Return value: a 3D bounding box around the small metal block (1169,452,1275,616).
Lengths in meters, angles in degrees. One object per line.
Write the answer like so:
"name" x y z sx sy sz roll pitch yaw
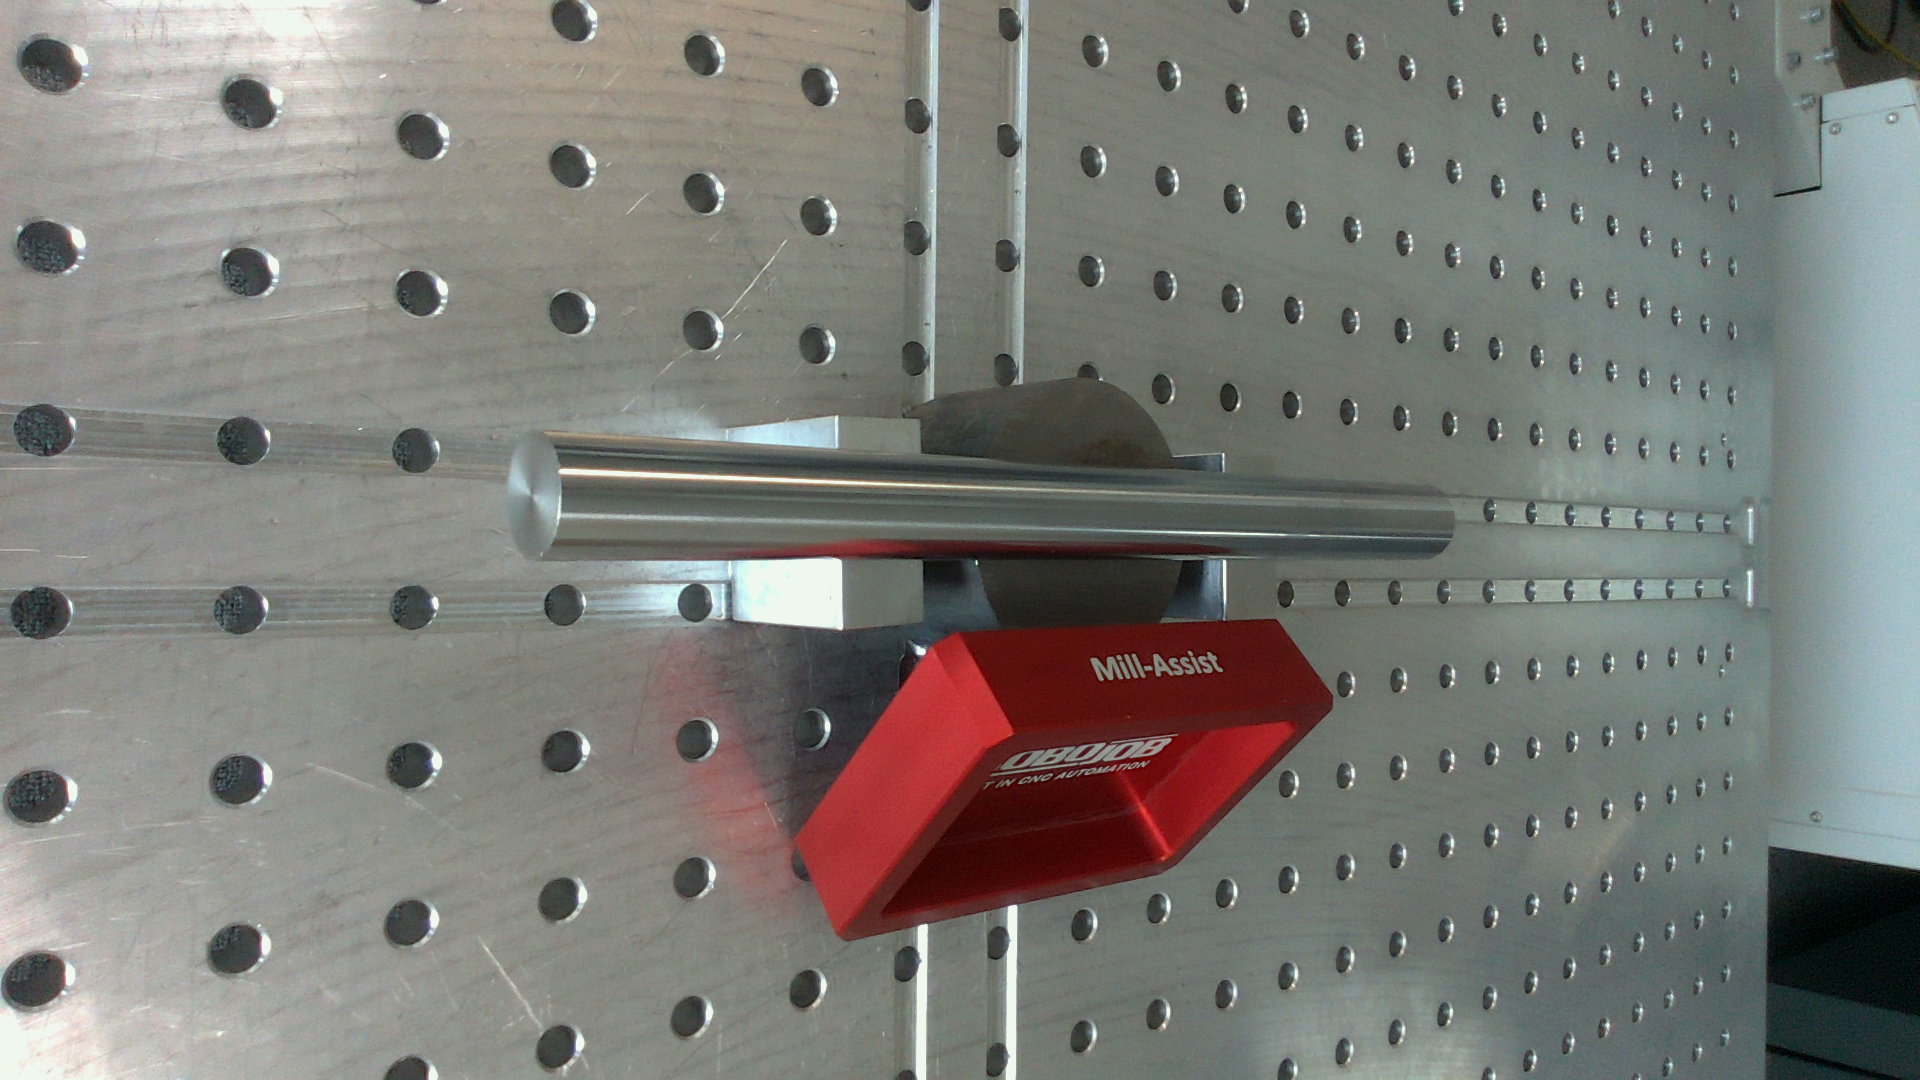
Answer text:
"small metal block" 0.072 -0.001 0.436 0.025 0.050 0.050 -1 91 -40

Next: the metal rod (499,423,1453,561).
"metal rod" 0.034 -0.008 0.355 0.301 0.025 0.025 1 89 -39

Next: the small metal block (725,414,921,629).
"small metal block" -0.035 -0.005 0.346 0.025 0.050 0.050 -1 91 -40

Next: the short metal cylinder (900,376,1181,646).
"short metal cylinder" 0.018 -0.004 0.391 0.080 0.050 0.080 0 90 -40

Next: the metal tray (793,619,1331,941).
"metal tray" 0.030 0.063 0.378 0.131 0.090 0.030 1 46 -40
